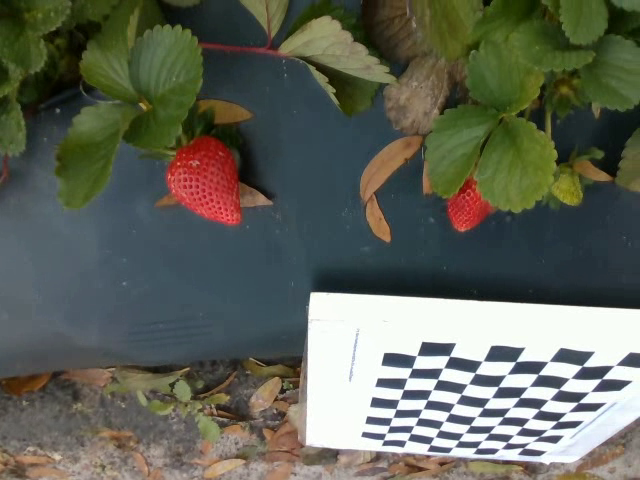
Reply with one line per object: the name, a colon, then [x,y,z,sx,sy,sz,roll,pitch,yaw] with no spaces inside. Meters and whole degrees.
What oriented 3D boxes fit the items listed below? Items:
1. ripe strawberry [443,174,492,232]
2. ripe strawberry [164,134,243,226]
ripe strawberry: [0.091,-0.019,0.370,0.040,0.042,0.037,8,8,-10]
ripe strawberry: [-0.063,-0.029,0.364,0.042,0.065,0.047,-30,-22,-23]
